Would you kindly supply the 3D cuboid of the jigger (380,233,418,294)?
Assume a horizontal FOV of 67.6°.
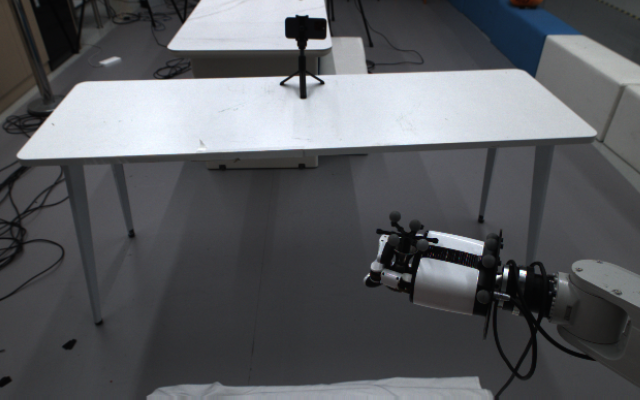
[{"bbox_3d":[0.123,0.098,0.724,0.043,0.071,0.043,6,26,-3],"label":"jigger"}]
